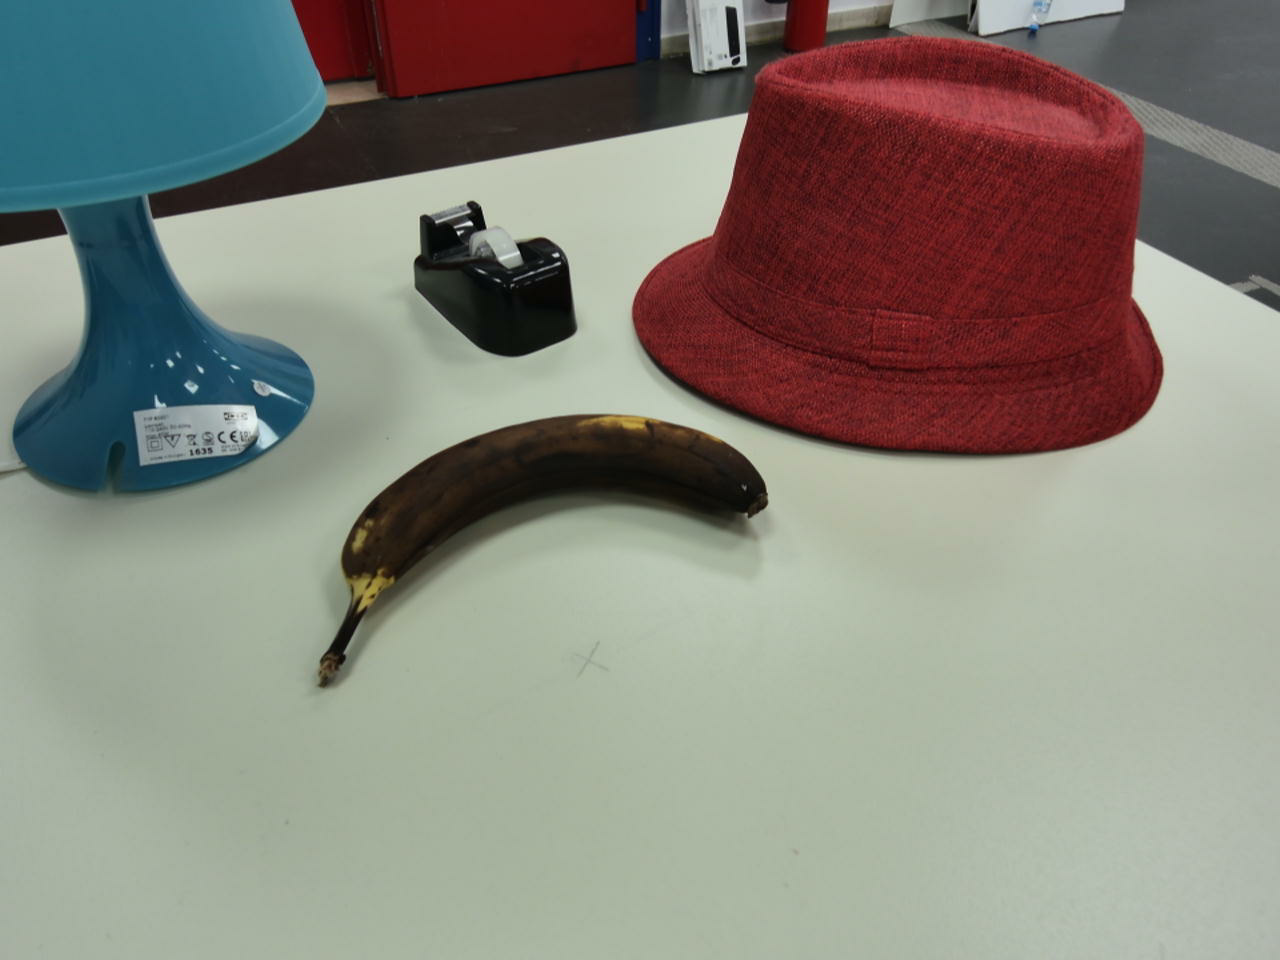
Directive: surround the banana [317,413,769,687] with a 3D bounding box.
[{"bbox_3d":[-0.047,0.009,0.406,0.188,0.034,0.091,-16,41,-20],"label":"banana"}]
